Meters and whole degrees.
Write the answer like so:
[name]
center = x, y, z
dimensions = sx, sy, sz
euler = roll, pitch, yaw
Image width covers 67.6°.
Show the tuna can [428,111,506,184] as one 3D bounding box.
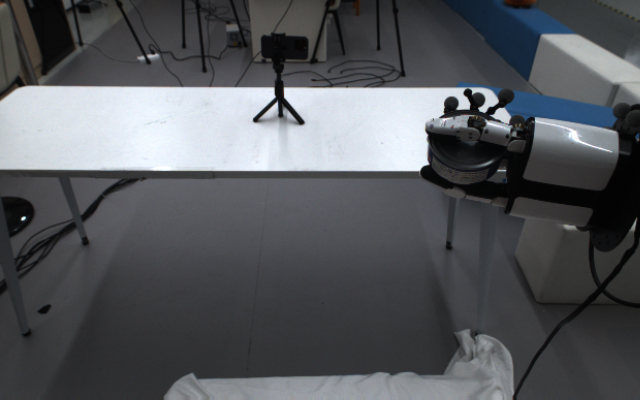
[tuna can]
center = 0.168, -0.065, 0.555
dimensions = 0.085, 0.034, 0.085
euler = -4, 54, 6
